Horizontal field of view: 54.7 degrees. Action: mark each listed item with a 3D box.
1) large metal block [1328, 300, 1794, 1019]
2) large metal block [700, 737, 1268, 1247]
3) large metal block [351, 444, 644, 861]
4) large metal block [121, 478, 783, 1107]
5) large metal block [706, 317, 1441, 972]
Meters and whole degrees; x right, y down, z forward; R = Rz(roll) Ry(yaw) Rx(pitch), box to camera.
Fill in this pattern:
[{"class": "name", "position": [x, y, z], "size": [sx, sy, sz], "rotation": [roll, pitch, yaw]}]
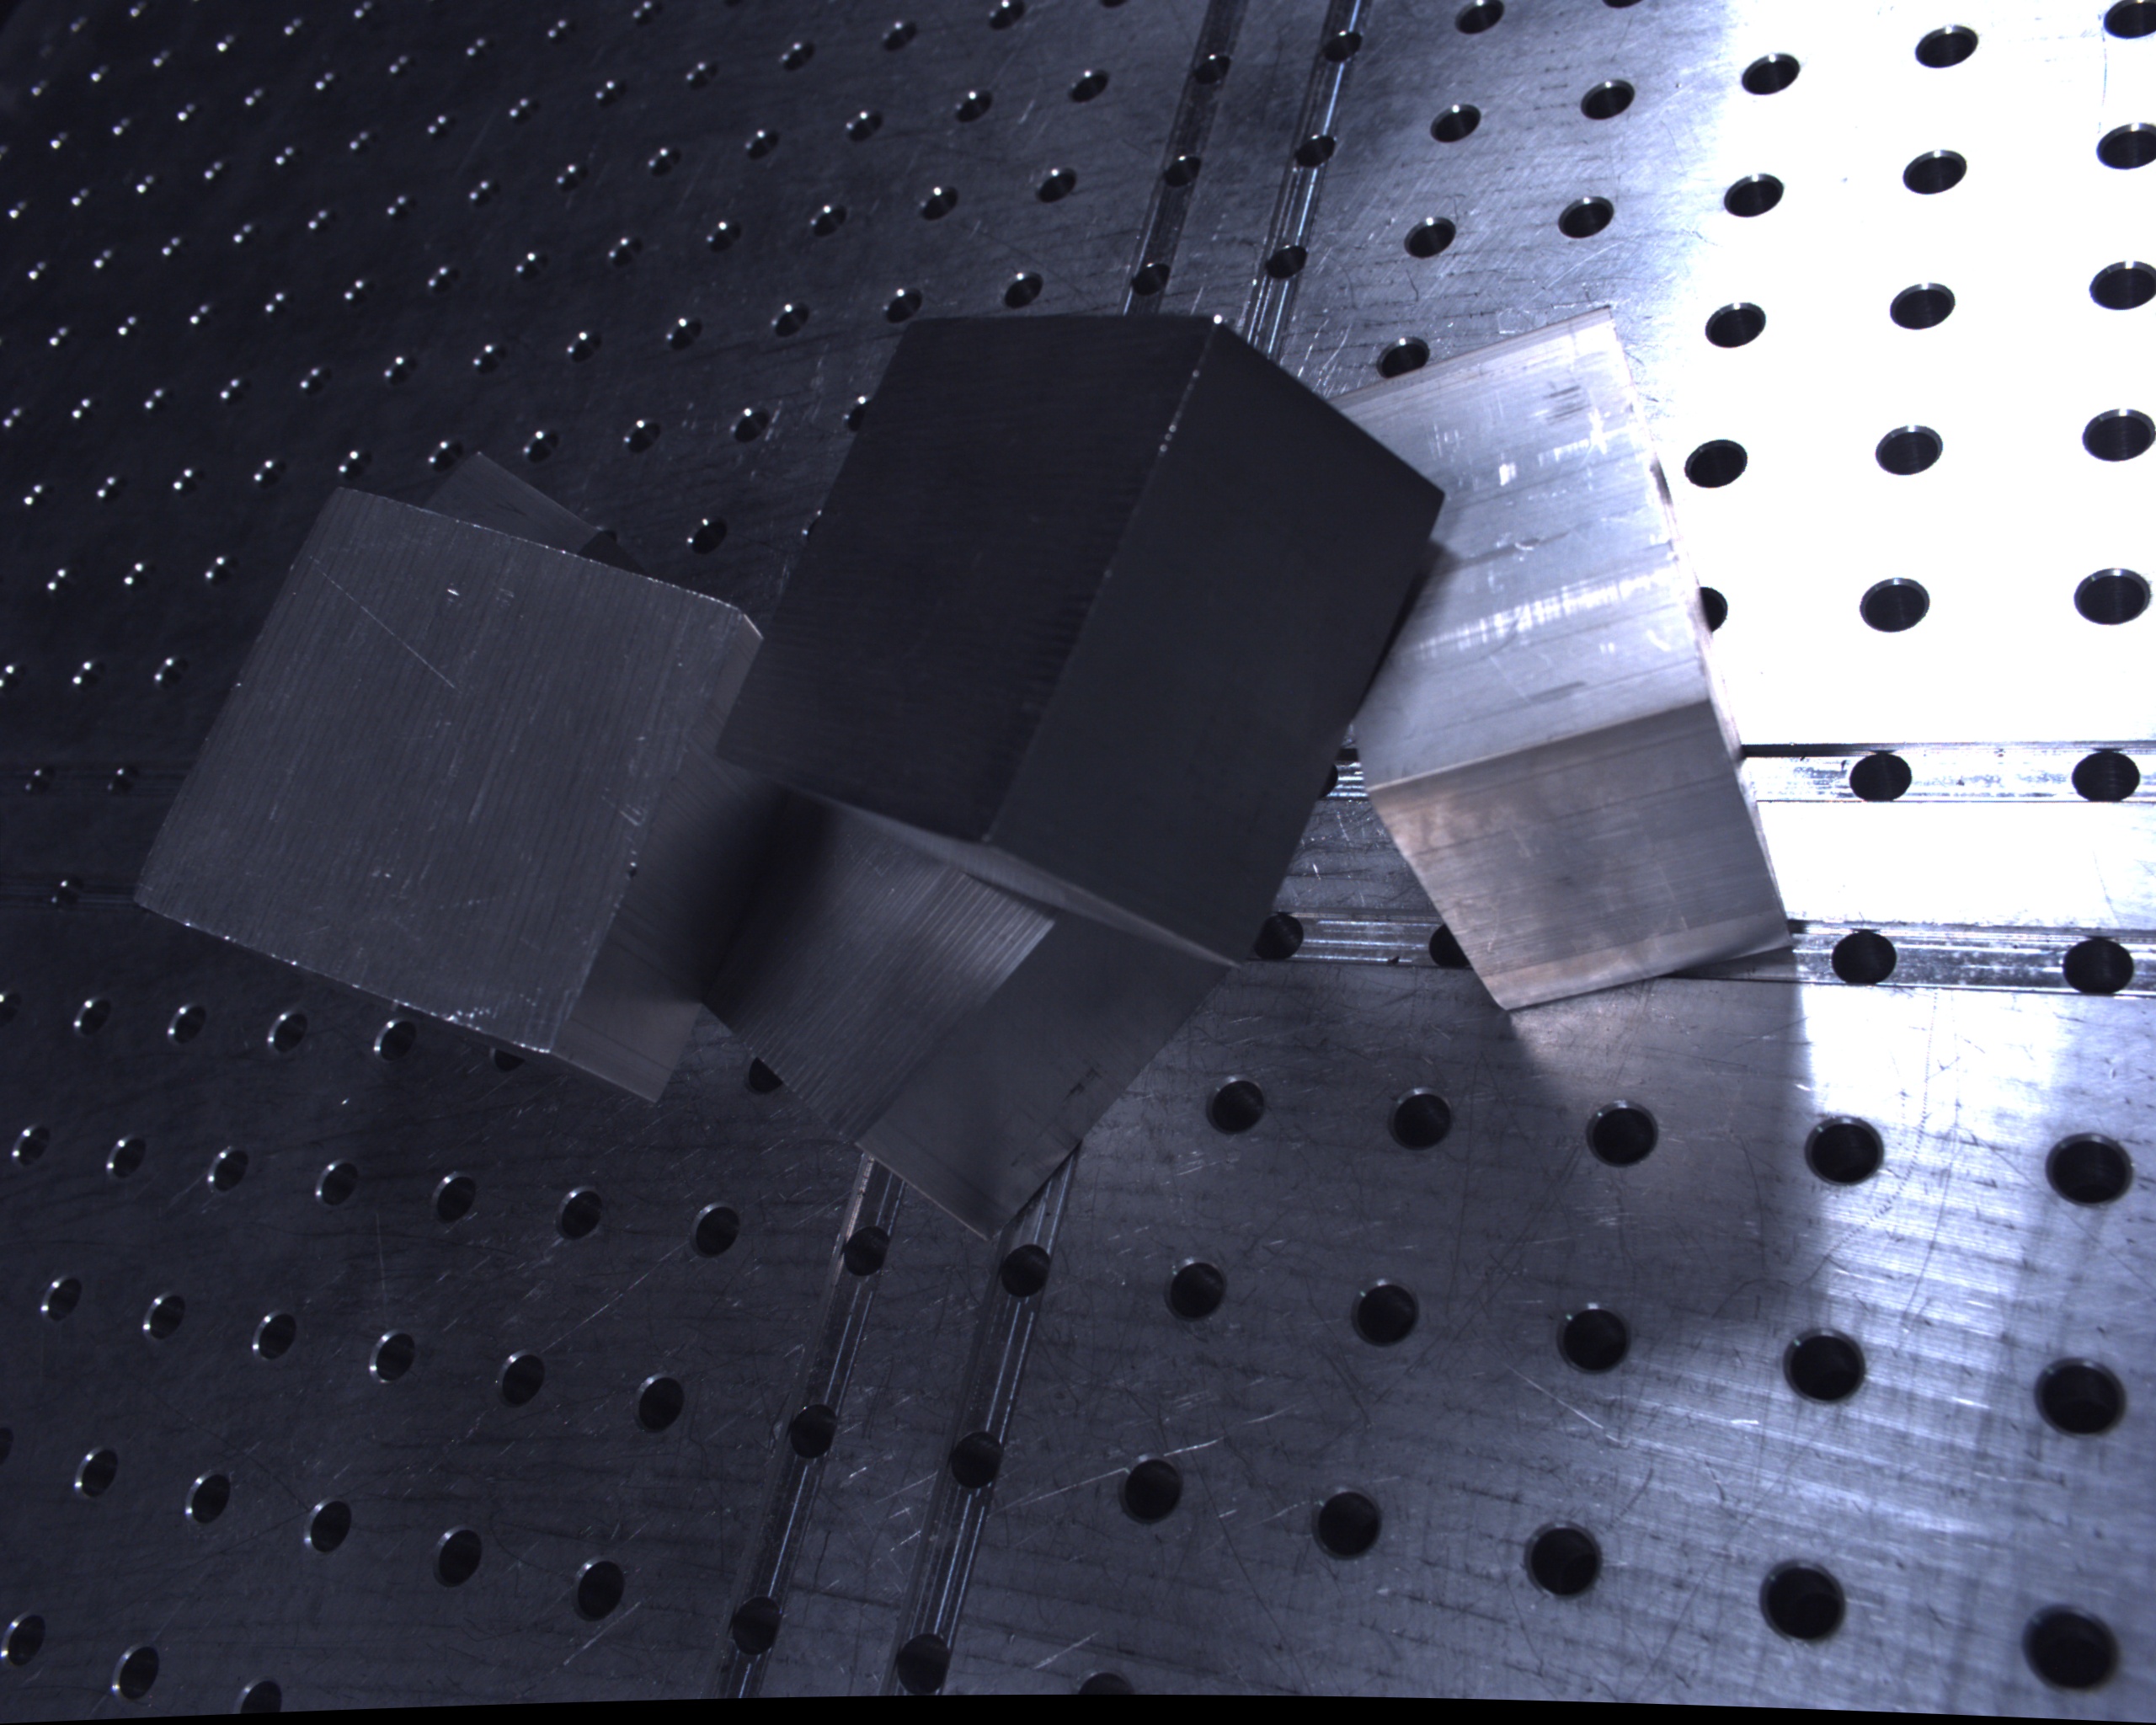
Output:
[{"class": "large metal block", "position": [0.080, -0.031, 0.349], "size": [0.050, 0.080, 0.080], "rotation": [-15, 56, 19]}, {"class": "large metal block", "position": [-0.026, 0.011, 0.397], "size": [0.080, 0.050, 0.080], "rotation": [-48, 52, -6]}, {"class": "large metal block", "position": [-0.119, -0.028, 0.450], "size": [0.050, 0.080, 0.080], "rotation": [34, 81, 38]}, {"class": "large metal block", "position": [-0.103, -0.011, 0.367], "size": [0.080, 0.050, 0.080], "rotation": [18, 77, 13]}, {"class": "large metal block", "position": [-0.003, -0.037, 0.326], "size": [0.080, 0.050, 0.080], "rotation": [19, 84, 51]}]
